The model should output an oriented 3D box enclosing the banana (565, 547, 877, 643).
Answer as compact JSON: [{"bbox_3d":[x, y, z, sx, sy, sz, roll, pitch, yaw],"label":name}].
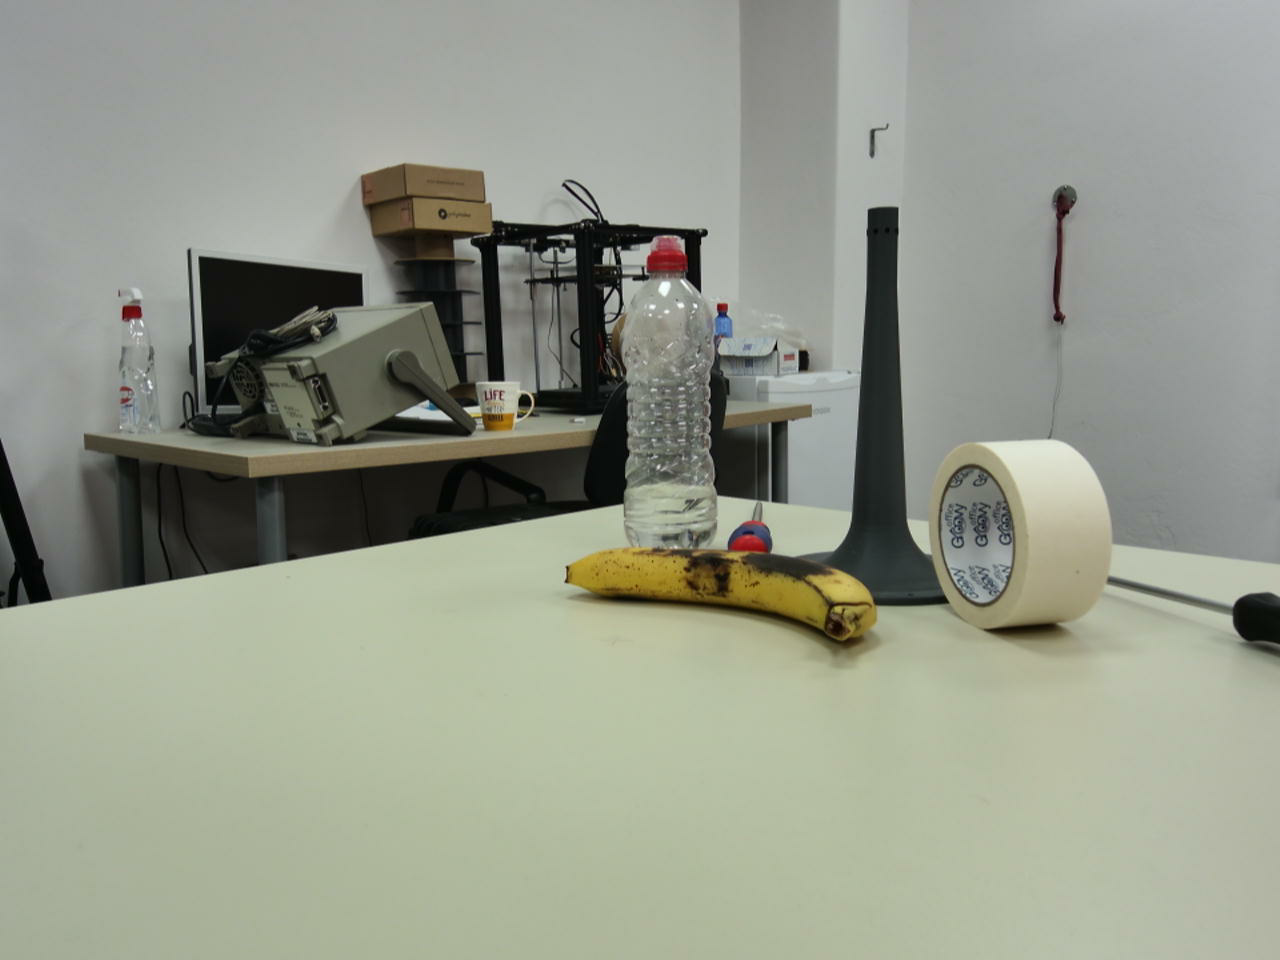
[{"bbox_3d":[0.055,0.064,0.611,0.084,0.037,0.222,-5,8,-43],"label":"banana"}]
